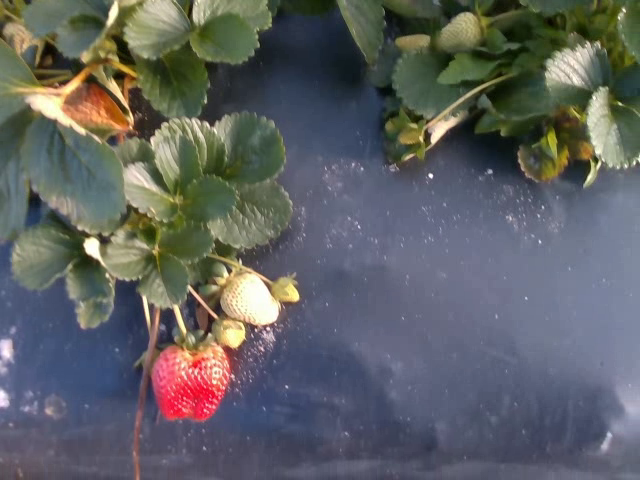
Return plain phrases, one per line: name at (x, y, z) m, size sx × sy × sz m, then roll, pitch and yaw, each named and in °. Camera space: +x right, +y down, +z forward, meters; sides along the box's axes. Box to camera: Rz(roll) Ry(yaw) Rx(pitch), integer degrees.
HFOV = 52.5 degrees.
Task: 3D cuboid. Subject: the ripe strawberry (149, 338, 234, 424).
ripe strawberry at (-0.081, 0.093, 0.391) m, size 0.048 × 0.050 × 0.034 m, roll 4°, pitch 6°, yaw 3°
